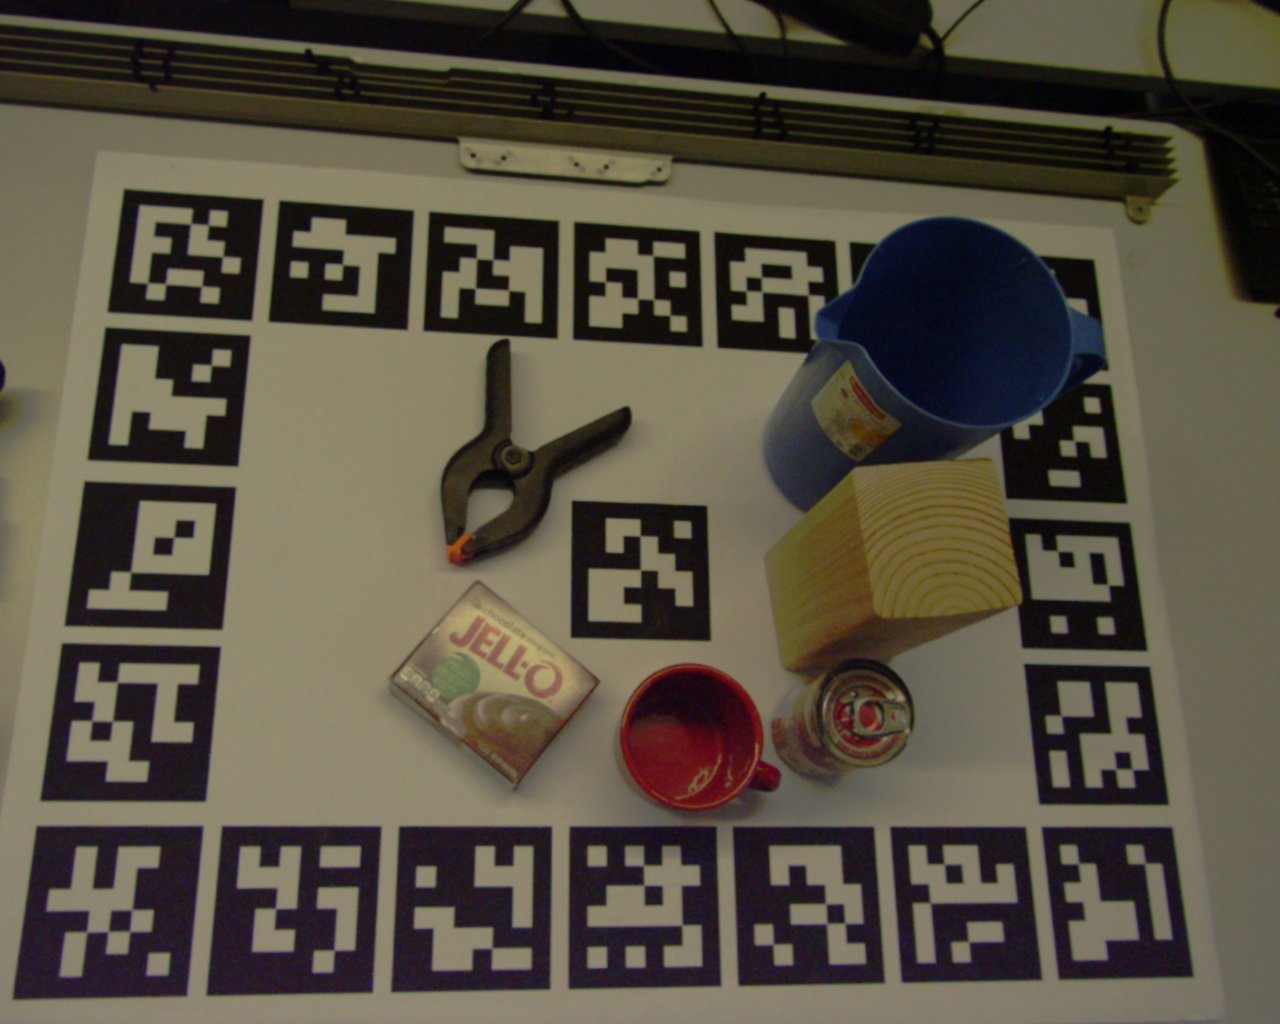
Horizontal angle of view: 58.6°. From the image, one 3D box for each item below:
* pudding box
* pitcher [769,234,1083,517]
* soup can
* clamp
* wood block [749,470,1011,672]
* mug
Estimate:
[{"bbox_3d":[-0.111,0.120,0.801,0.114,0.039,0.090,38,75,5],"label":"pudding box"},{"bbox_3d":[0.178,-0.073,0.791,0.188,0.242,0.133,1,71,-6],"label":"pitcher"},{"bbox_3d":[0.126,0.147,0.789,0.067,0.102,0.068,2,76,-8],"label":"soup can"},{"bbox_3d":[-0.091,-0.032,0.855,0.121,0.037,0.165,32,72,-6],"label":"clamp"},{"bbox_3d":[0.151,0.047,0.767,0.089,0.207,0.091,0,74,-13],"label":"wood block"},{"bbox_3d":[0.032,0.165,0.782,0.117,0.081,0.093,37,69,4],"label":"mug"}]
